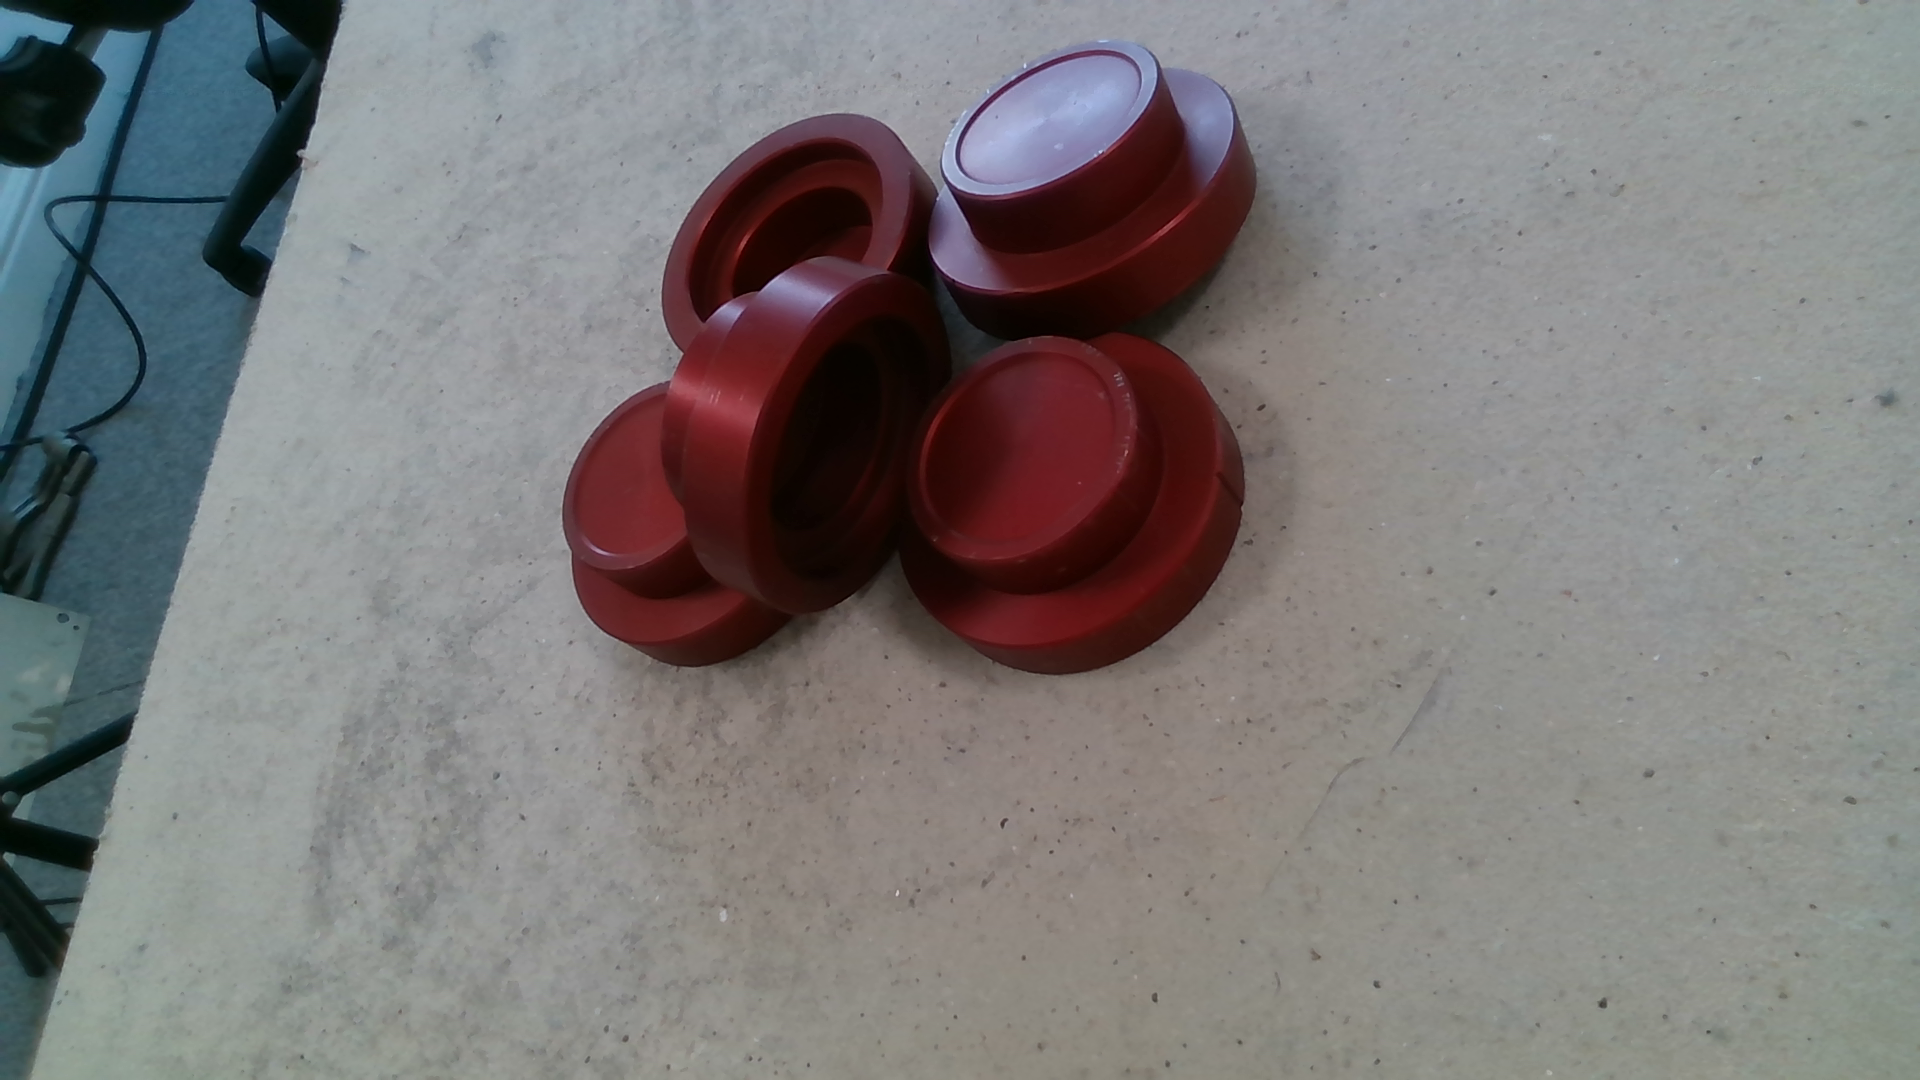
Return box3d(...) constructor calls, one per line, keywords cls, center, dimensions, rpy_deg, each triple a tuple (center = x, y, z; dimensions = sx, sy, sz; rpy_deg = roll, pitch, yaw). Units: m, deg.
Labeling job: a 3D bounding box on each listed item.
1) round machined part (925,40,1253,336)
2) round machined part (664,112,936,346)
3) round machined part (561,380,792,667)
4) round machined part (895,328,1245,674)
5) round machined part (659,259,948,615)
box3d(cls="round machined part", center=(0.033, -0.108, 0.406), dimensions=(0.098, 0.042, 0.098), rpy_deg=(-18, 44, 19))
box3d(cls="round machined part", center=(-0.047, -0.089, 0.459), dimensions=(0.098, 0.042, 0.098), rpy_deg=(-15, 59, 26))
box3d(cls="round machined part", center=(-0.088, -0.012, 0.443), dimensions=(0.098, 0.042, 0.098), rpy_deg=(-13, 60, 24))
box3d(cls="round machined part", center=(0.024, -0.017, 0.376), dimensions=(0.098, 0.042, 0.098), rpy_deg=(-13, 60, 24))
box3d(cls="round machined part", center=(-0.046, -0.032, 0.388), dimensions=(0.042, 0.098, 0.098), rpy_deg=(21, 77, 24))
